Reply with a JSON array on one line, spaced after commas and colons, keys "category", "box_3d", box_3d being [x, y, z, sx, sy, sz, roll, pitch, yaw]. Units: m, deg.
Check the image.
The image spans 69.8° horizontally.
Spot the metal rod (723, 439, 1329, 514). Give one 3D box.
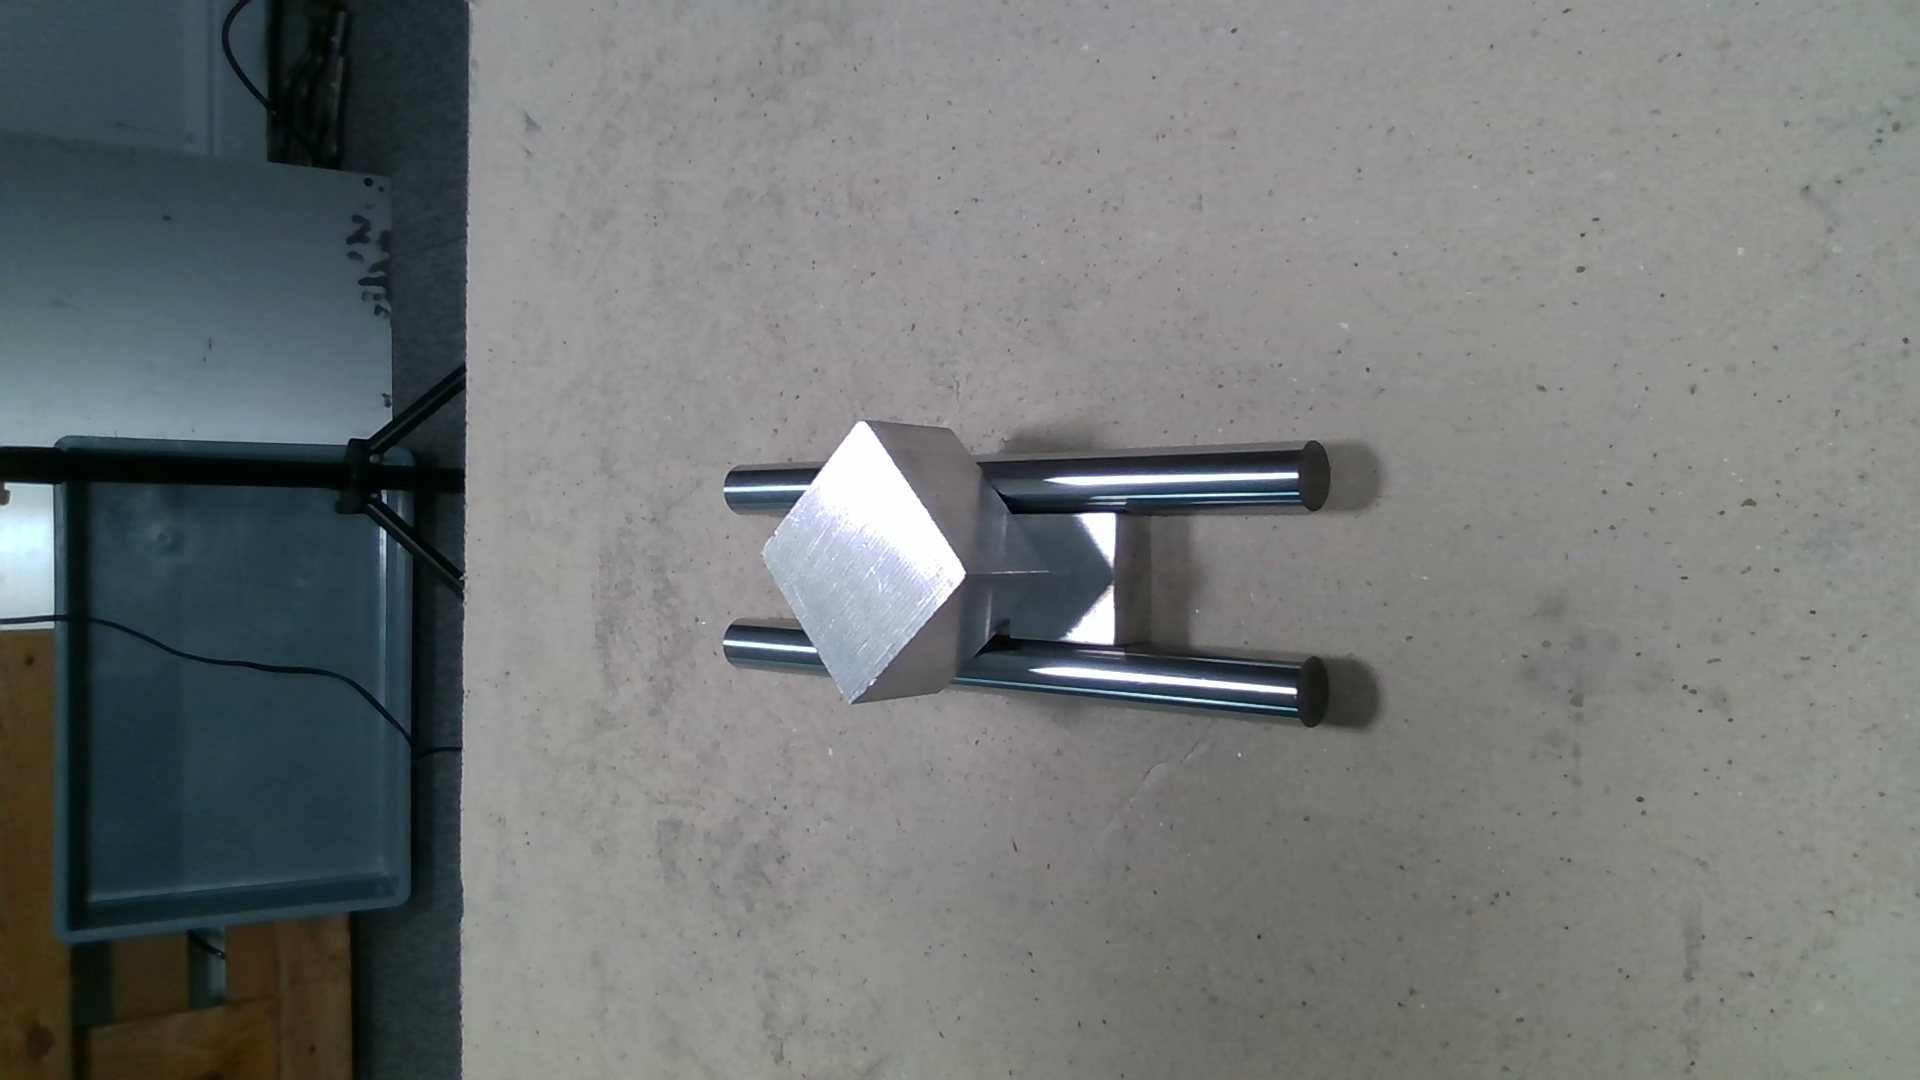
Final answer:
[{"category": "metal rod", "box_3d": [0.008, -0.024, 0.575, 0.300, 0.025, 0.025, 1, 91, 40]}]

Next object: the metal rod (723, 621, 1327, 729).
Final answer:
[{"category": "metal rod", "box_3d": [0.008, 0.052, 0.577, 0.300, 0.025, 0.025, 1, 91, 40]}]

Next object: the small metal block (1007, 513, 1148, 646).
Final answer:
[{"category": "small metal block", "box_3d": [0.046, 0.014, 0.542, 0.050, 0.025, 0.050, 1, 91, 40]}]

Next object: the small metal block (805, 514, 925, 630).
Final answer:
[{"category": "small metal block", "box_3d": [-0.043, 0.013, 0.617, 0.050, 0.025, 0.050, 1, 91, 40]}]

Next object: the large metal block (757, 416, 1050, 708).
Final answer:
[{"category": "large metal block", "box_3d": [-0.024, 0.009, 0.551, 0.080, 0.050, 0.080, -49, 61, 29]}]
